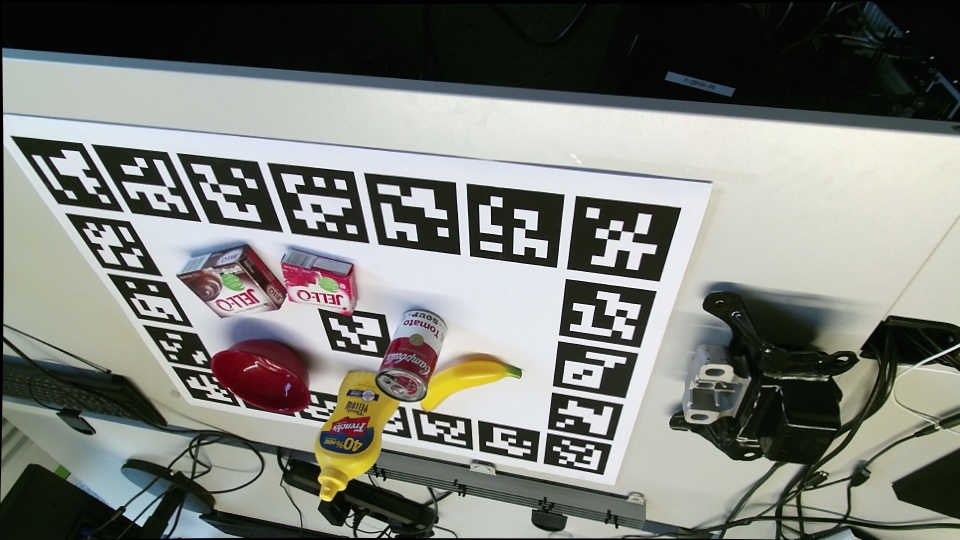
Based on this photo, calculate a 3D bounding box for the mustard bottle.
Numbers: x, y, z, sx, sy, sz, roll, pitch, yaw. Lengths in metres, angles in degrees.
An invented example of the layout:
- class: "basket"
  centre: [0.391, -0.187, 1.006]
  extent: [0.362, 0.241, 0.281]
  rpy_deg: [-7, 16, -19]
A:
- class: "mustard bottle"
  centre: [-0.194, 0.253, 0.782]
  extent: [0.096, 0.190, 0.058]
  rpy_deg: [8, 136, 9]

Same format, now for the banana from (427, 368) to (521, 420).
- class: "banana"
  centre: [-0.032, 0.184, 0.793]
  extent: [0.074, 0.038, 0.197]
  rpy_deg: [32, 134, -28]

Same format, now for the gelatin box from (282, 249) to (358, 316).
- class: "gelatin box"
  centre: [-0.204, 0.017, 0.691]
  extent: [0.089, 0.030, 0.073]
  rpy_deg: [12, 131, 4]

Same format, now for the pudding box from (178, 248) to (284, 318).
- class: "pudding box"
  centre: [-0.339, 0.023, 0.728]
  extent: [0.114, 0.038, 0.090]
  rpy_deg: [-11, 123, 25]

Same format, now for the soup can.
- class: "soup can"
  centre: [-0.083, 0.124, 0.694]
  extent: [0.068, 0.101, 0.068]
  rpy_deg: [10, 136, 10]

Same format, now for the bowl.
- class: "bowl"
  centre: [-0.345, 0.163, 0.855]
  extent: [0.162, 0.055, 0.162]
  rpy_deg: [7, 134, 8]
